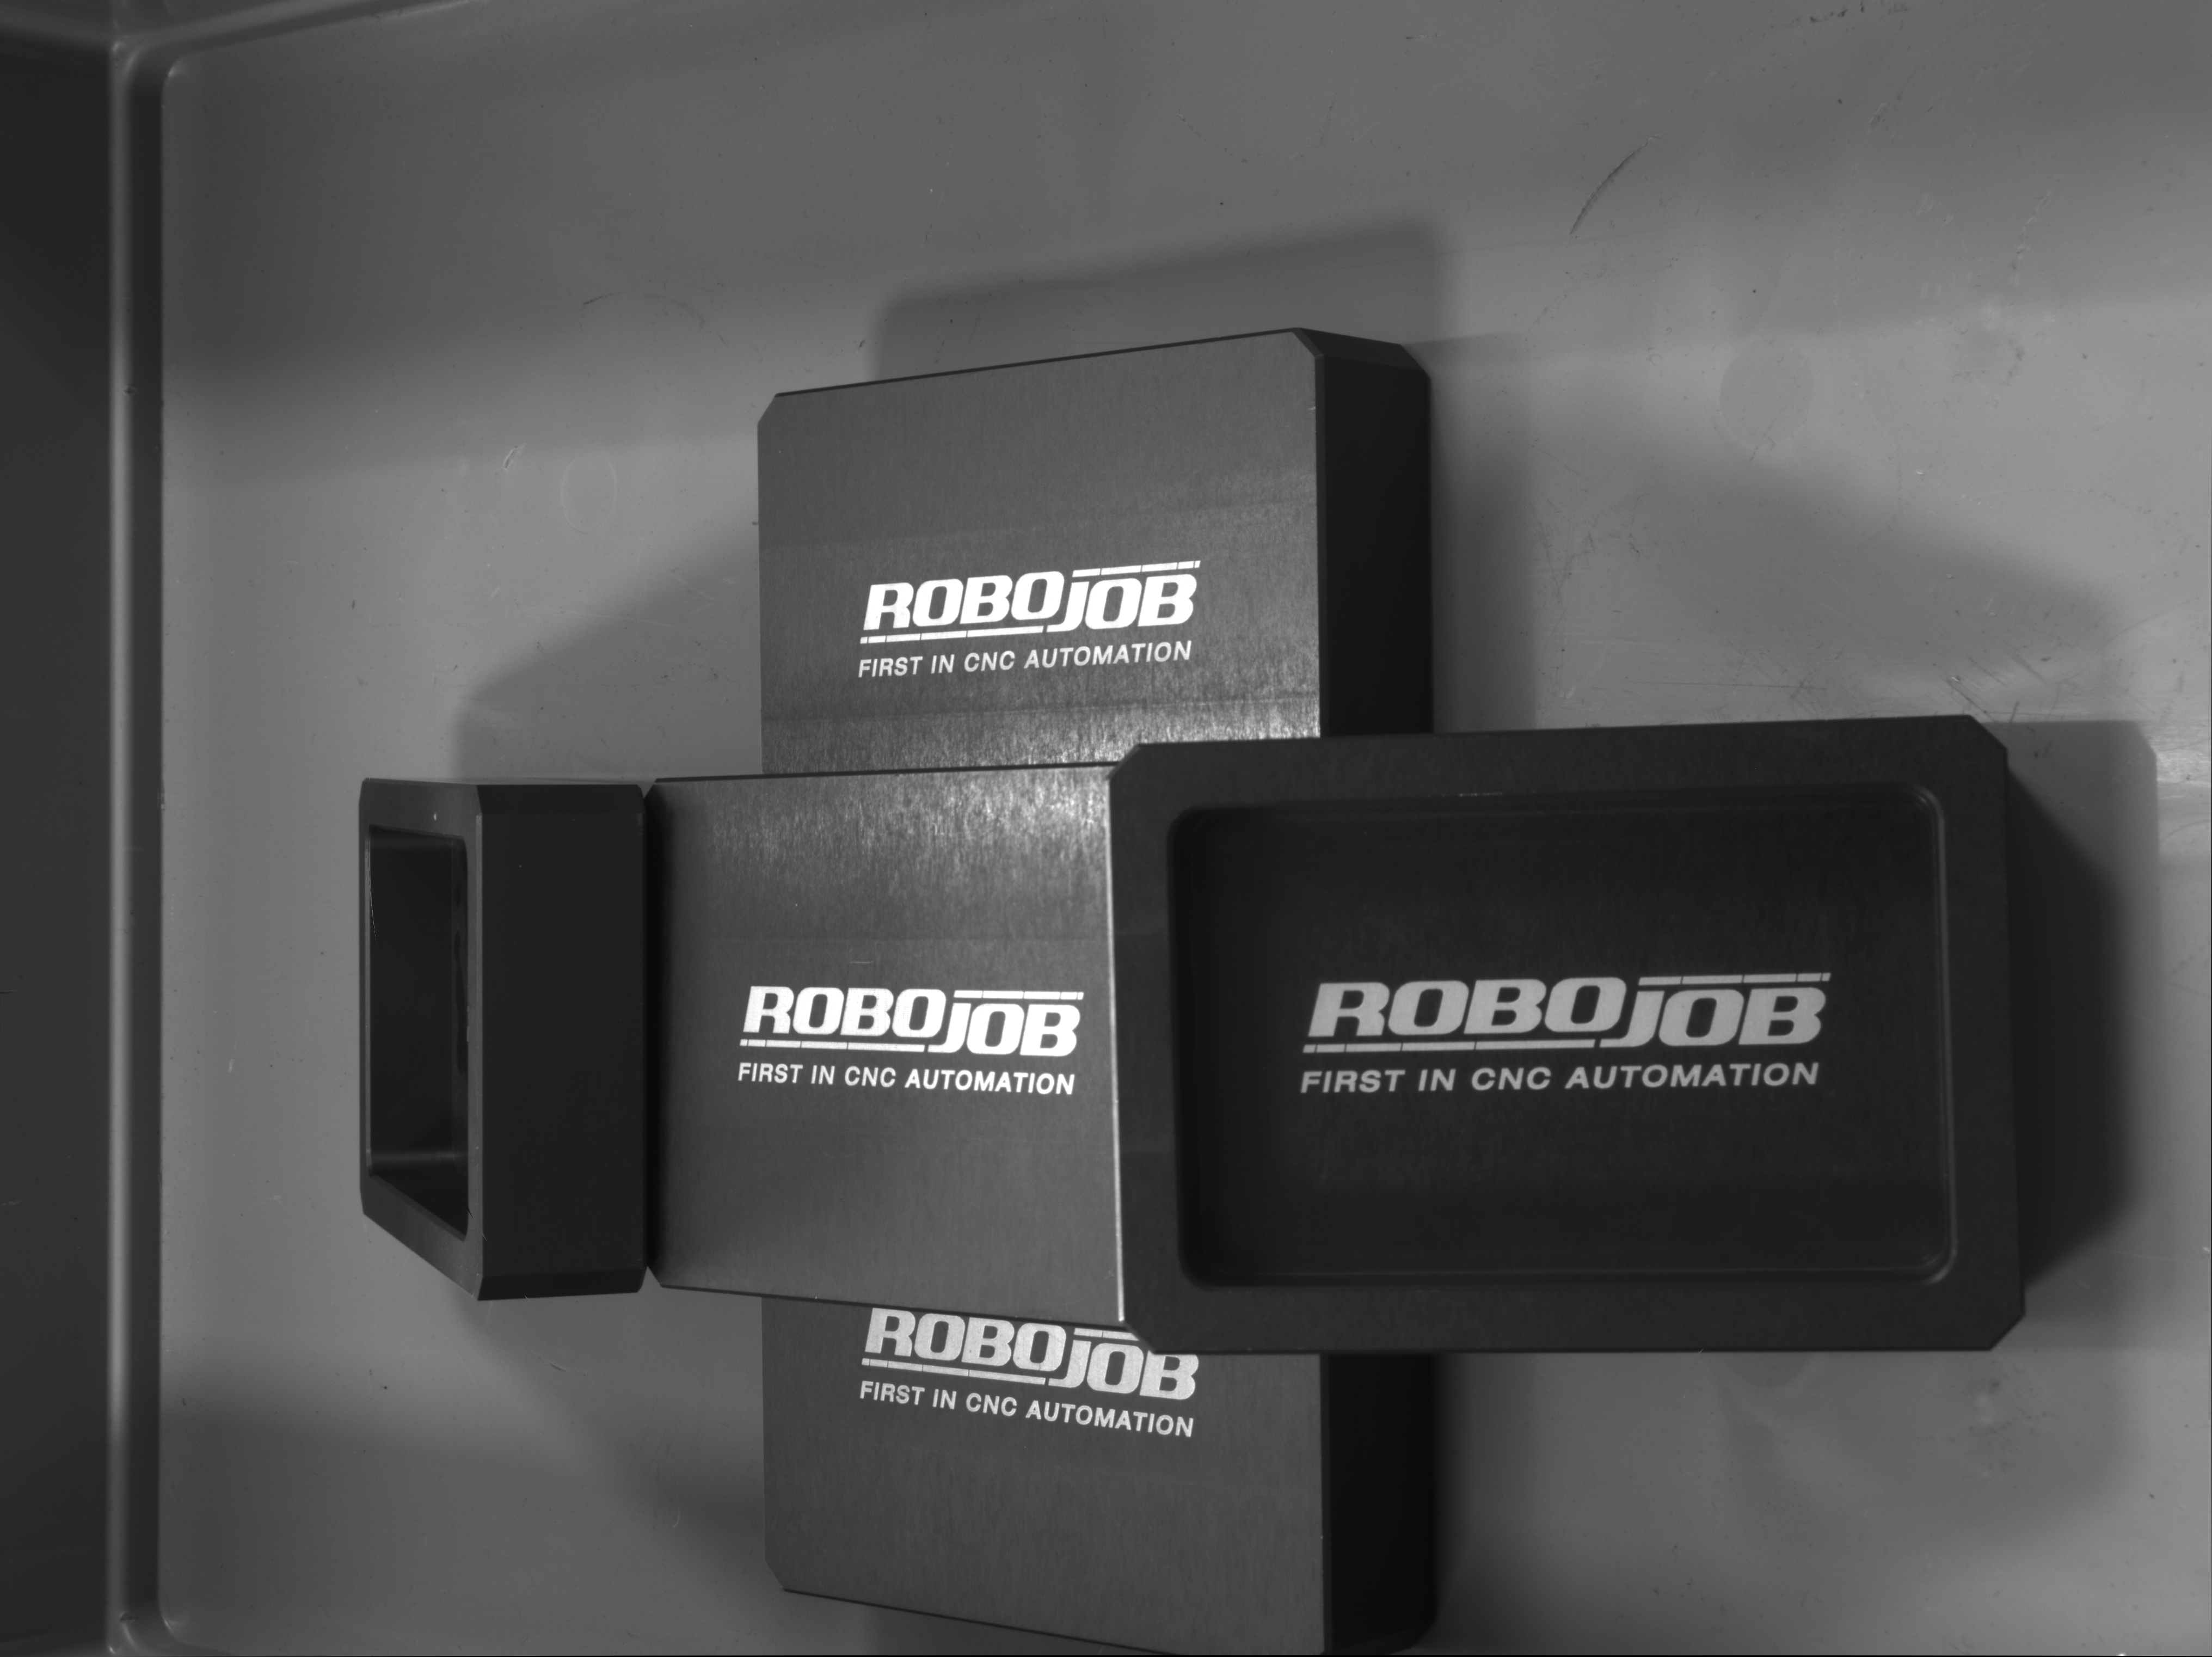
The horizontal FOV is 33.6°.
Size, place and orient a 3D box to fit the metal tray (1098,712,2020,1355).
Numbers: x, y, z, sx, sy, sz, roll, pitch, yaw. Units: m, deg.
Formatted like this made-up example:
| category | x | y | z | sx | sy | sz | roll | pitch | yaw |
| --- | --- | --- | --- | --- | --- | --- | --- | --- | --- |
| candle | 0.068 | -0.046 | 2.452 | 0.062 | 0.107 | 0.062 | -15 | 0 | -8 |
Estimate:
| category | x | y | z | sx | sy | sz | roll | pitch | yaw |
| --- | --- | --- | --- | --- | --- | --- | --- | --- | --- |
| metal tray | 0.067 | 0.031 | 0.543 | 0.130 | 0.030 | 0.090 | -2 | 89 | 11 |

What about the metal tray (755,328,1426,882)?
| category | x | y | z | sx | sy | sz | roll | pitch | yaw |
| --- | --- | --- | --- | --- | --- | --- | --- | --- | --- |
| metal tray | -0.006 | -0.035 | 0.644 | 0.129 | 0.030 | 0.090 | -1 | 89 | 40 |

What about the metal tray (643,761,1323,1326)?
| category | x | y | z | sx | sy | sz | roll | pitch | yaw |
| --- | --- | --- | --- | --- | --- | --- | --- | --- | --- |
| metal tray | -0.024 | 0.035 | 0.621 | 0.129 | 0.030 | 0.090 | -2 | 89 | 40 |

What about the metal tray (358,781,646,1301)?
| category | x | y | z | sx | sy | sz | roll | pitch | yaw |
| --- | --- | --- | --- | --- | --- | --- | --- | --- | --- |
| metal tray | -0.117 | 0.036 | 0.699 | 0.130 | 0.030 | 0.090 | -177 | 86 | -70 |

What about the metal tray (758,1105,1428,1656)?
| category | x | y | z | sx | sy | sz | roll | pitch | yaw |
| --- | --- | --- | --- | --- | --- | --- | --- | --- | --- |
| metal tray | -0.005 | 0.094 | 0.643 | 0.129 | 0.030 | 0.090 | -1 | 89 | 40 |
